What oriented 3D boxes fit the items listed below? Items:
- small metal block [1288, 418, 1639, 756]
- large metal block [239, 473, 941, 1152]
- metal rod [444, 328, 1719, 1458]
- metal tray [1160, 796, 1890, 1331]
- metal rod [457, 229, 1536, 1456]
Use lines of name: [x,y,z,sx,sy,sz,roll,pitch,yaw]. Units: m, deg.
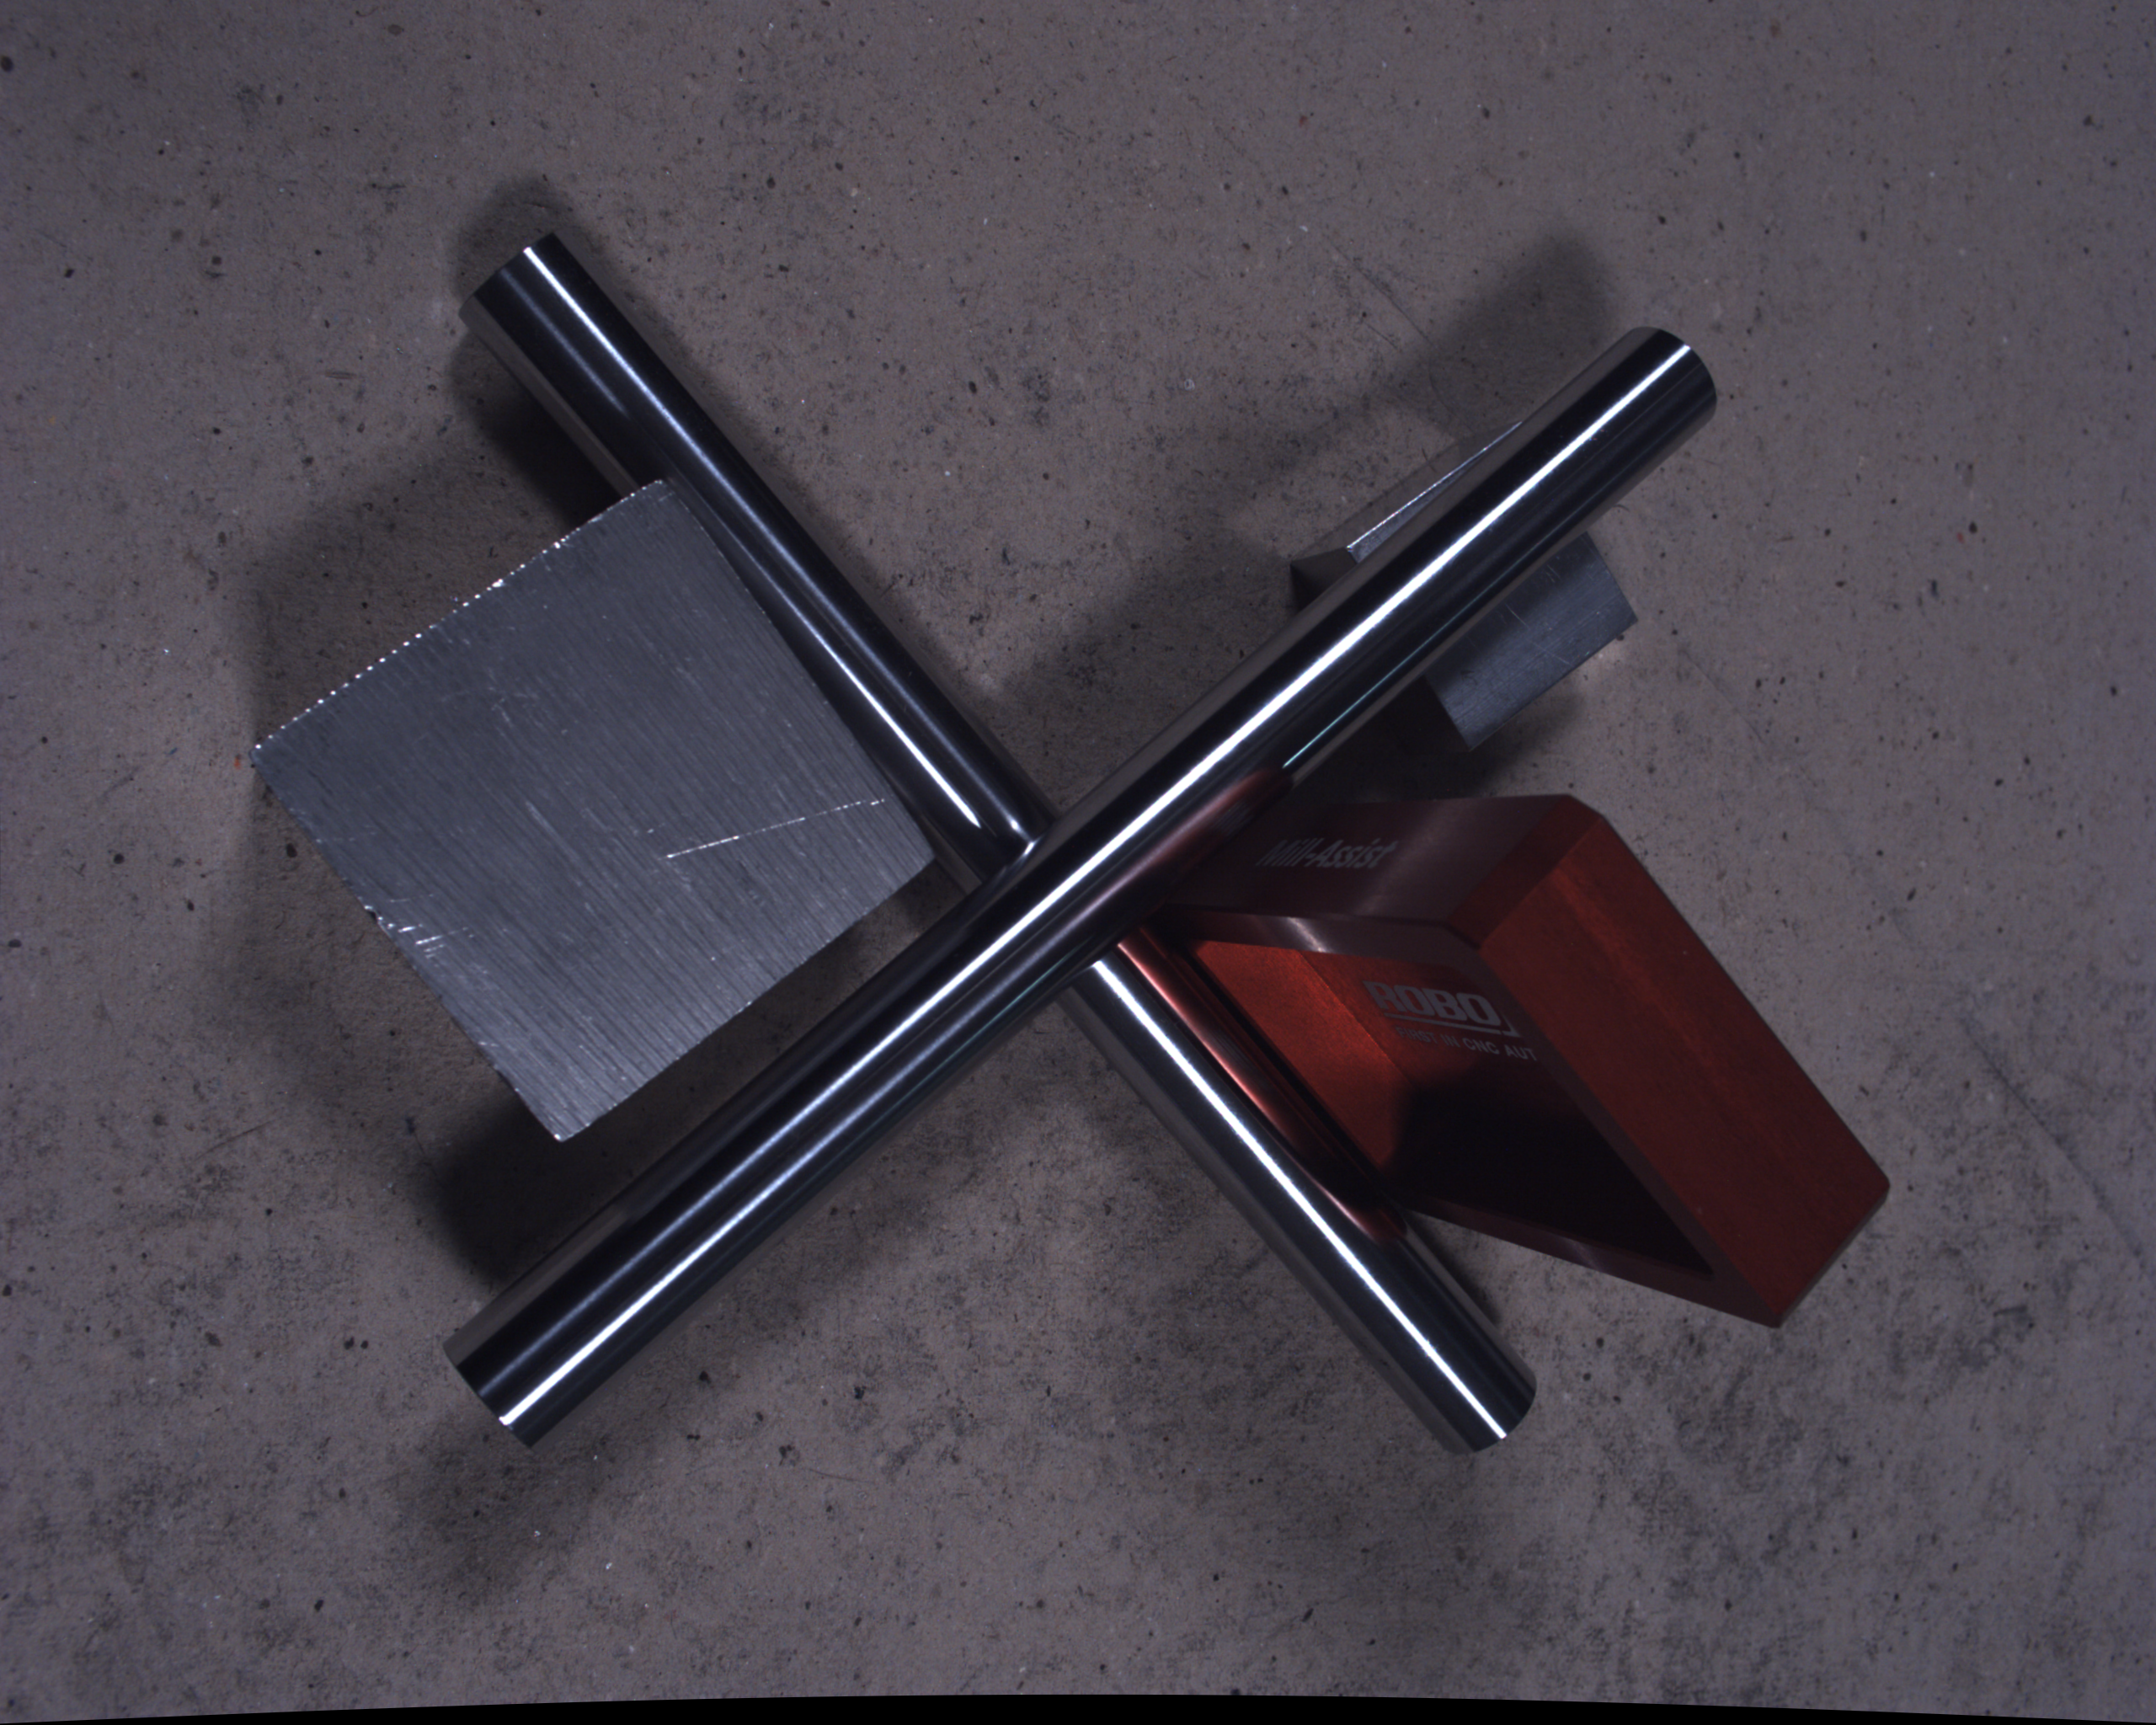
small metal block: [0.082,-0.058,0.442,0.050,0.025,0.050,-37,102,-16]
large metal block: [-0.085,-0.009,0.365,0.080,0.050,0.080,-39,103,-16]
metal rod: [0.012,-0.005,0.389,0.301,0.025,0.025,-41,103,-16]
metal tray: [0.073,0.032,0.382,0.030,0.130,0.090,-44,104,-14]
metal rod: [-0.007,0.006,0.409,0.025,0.025,0.300,-44,104,-15]
